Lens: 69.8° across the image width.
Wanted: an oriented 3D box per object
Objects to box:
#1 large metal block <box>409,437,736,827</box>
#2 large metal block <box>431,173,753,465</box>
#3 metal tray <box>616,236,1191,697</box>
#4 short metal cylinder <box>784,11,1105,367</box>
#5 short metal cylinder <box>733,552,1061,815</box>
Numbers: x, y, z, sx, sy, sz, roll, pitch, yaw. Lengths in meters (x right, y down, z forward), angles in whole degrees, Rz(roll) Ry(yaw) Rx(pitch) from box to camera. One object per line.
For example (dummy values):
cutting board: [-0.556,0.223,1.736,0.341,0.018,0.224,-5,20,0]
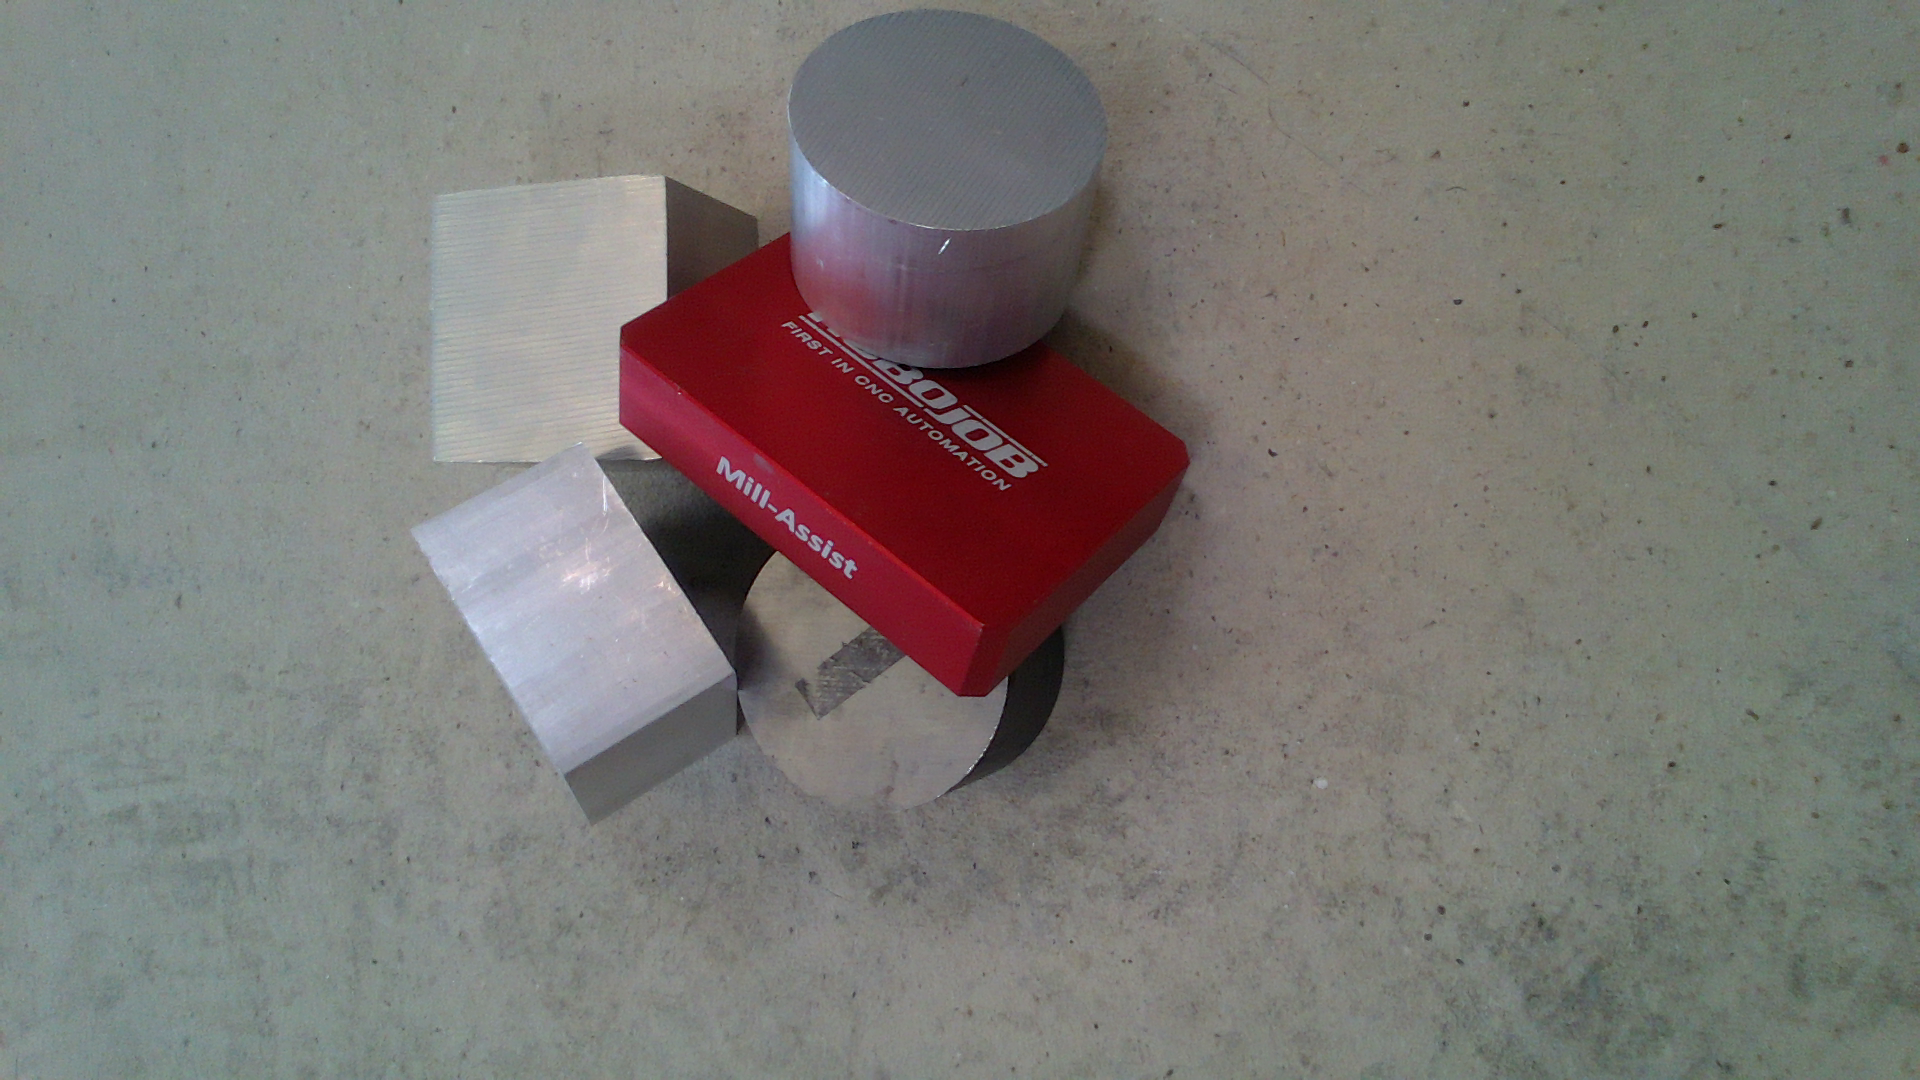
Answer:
large metal block: [-0.108,0.030,0.398,0.050,0.080,0.080,-31,78,-19]
large metal block: [-0.111,-0.063,0.421,0.080,0.050,0.080,1,90,20]
metal tray: [-0.016,-0.029,0.368,0.130,0.090,0.030,37,142,16]
short metal cylinder: [-0.006,-0.093,0.364,0.080,0.050,0.080,3,57,-5]
short metal cylinder: [-0.017,0.033,0.390,0.080,0.050,0.080,0,90,20]
